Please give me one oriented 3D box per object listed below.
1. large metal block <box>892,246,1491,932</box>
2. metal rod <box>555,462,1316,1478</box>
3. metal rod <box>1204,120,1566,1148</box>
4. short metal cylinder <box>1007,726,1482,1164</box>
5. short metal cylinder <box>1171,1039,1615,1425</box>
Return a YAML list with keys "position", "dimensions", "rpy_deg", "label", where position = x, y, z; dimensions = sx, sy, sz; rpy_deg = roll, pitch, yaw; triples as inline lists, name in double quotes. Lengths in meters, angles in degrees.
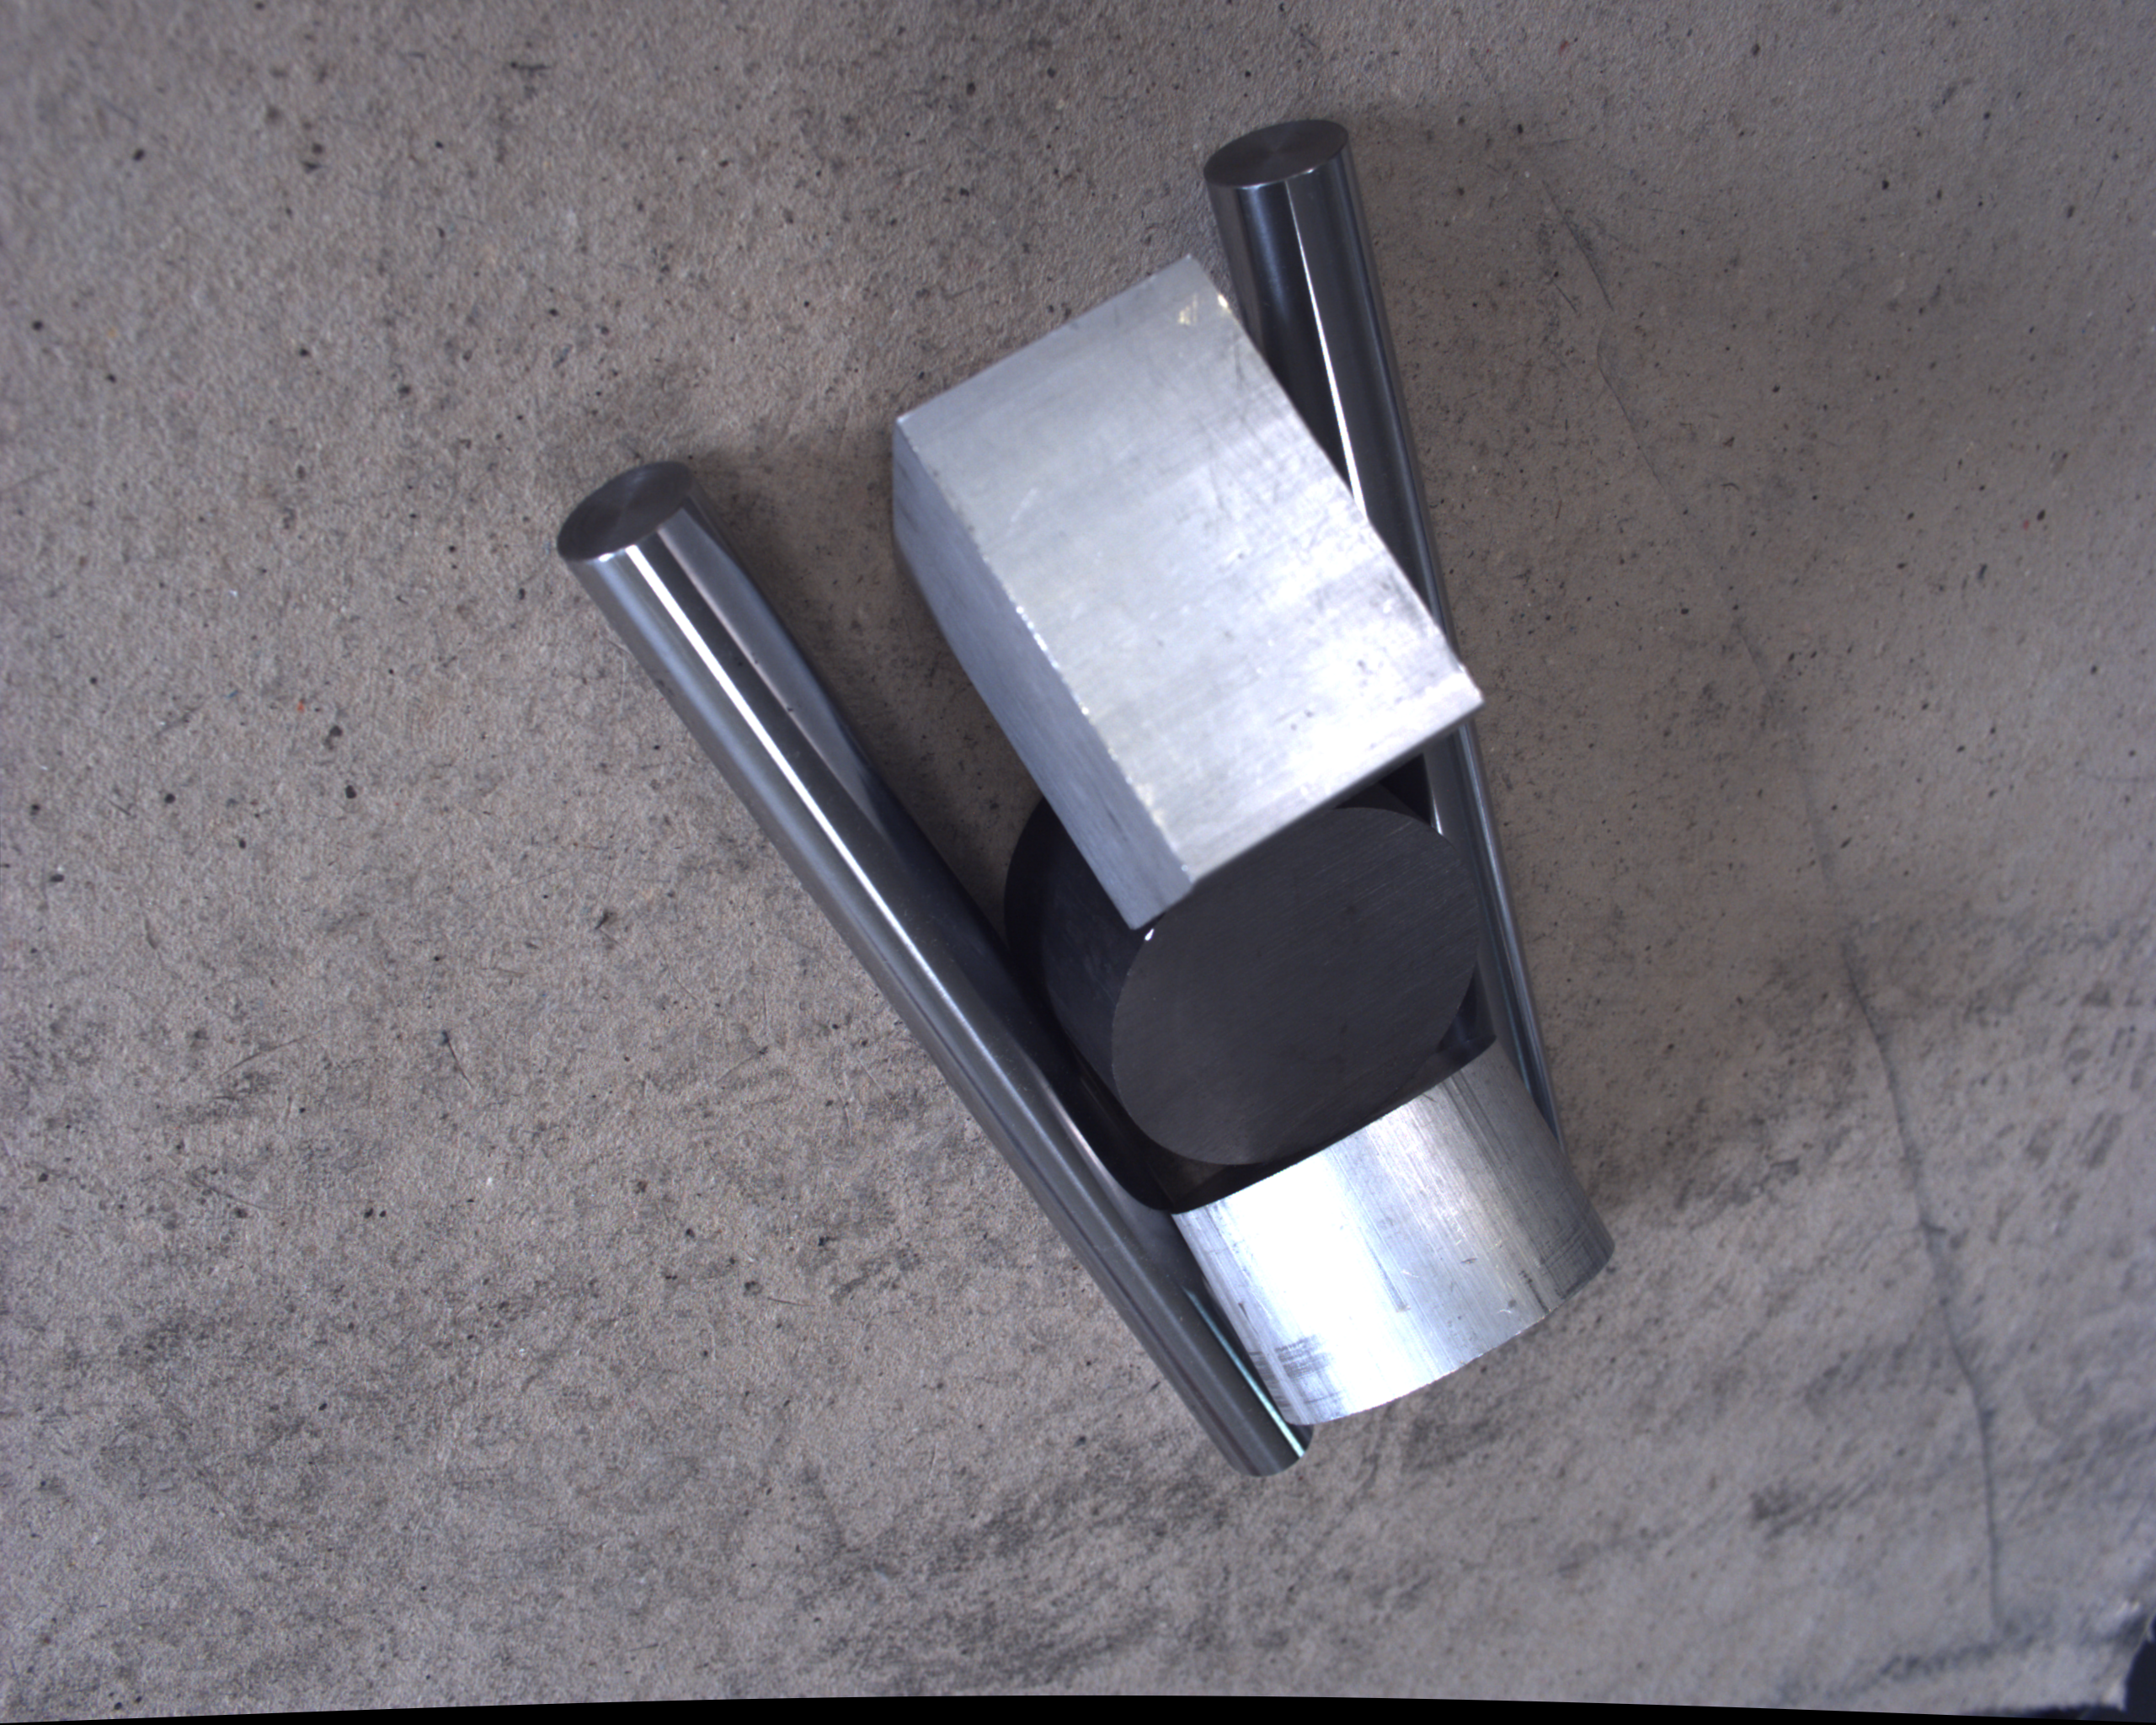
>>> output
- position: [0.013, -0.038, 0.336]
  dimensions: [0.050, 0.080, 0.080]
  rpy_deg: [-32, 87, -8]
  label: "large metal block"
- position: [-0.012, 0.043, 0.428]
  dimensions: [0.025, 0.025, 0.299]
  rpy_deg: [-35, 129, -5]
  label: "metal rod"
- position: [0.076, -0.009, 0.443]
  dimensions: [0.025, 0.025, 0.299]
  rpy_deg: [-29, 128, -10]
  label: "metal rod"
- position: [0.033, 0.013, 0.418]
  dimensions: [0.081, 0.050, 0.079]
  rpy_deg: [-14, 124, -21]
  label: "short metal cylinder"
- position: [0.067, 0.078, 0.450]
  dimensions: [0.080, 0.080, 0.050]
  rpy_deg: [-28, 86, -11]
  label: "short metal cylinder"
